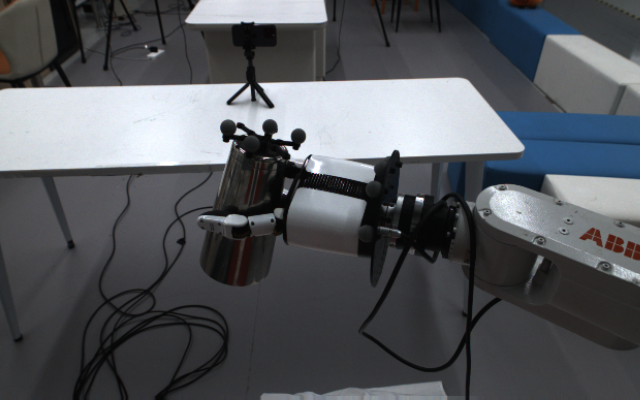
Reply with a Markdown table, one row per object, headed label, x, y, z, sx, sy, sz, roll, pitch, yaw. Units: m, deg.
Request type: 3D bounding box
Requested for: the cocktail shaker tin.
| label | x | y | z | sx | sy | sz | roll | pitch | yaw |
| --- | --- | --- | --- | --- | --- | --- | --- | --- | --- |
| cocktail shaker tin | -0.086 | 0.010 | 0.591 | 0.093 | 0.170 | 0.093 | 12 | 29 | -7 |
